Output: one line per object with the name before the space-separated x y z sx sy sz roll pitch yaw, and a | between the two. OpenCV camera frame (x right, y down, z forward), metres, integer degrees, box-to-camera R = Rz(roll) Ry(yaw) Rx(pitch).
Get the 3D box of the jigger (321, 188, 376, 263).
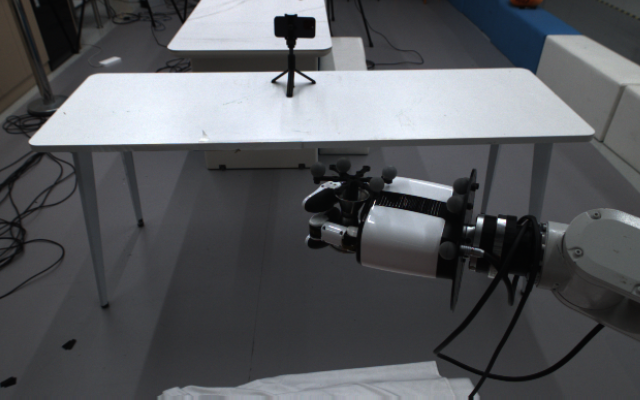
jigger | 0.039 0.022 0.573 0.043 0.071 0.043 3 25 -1
